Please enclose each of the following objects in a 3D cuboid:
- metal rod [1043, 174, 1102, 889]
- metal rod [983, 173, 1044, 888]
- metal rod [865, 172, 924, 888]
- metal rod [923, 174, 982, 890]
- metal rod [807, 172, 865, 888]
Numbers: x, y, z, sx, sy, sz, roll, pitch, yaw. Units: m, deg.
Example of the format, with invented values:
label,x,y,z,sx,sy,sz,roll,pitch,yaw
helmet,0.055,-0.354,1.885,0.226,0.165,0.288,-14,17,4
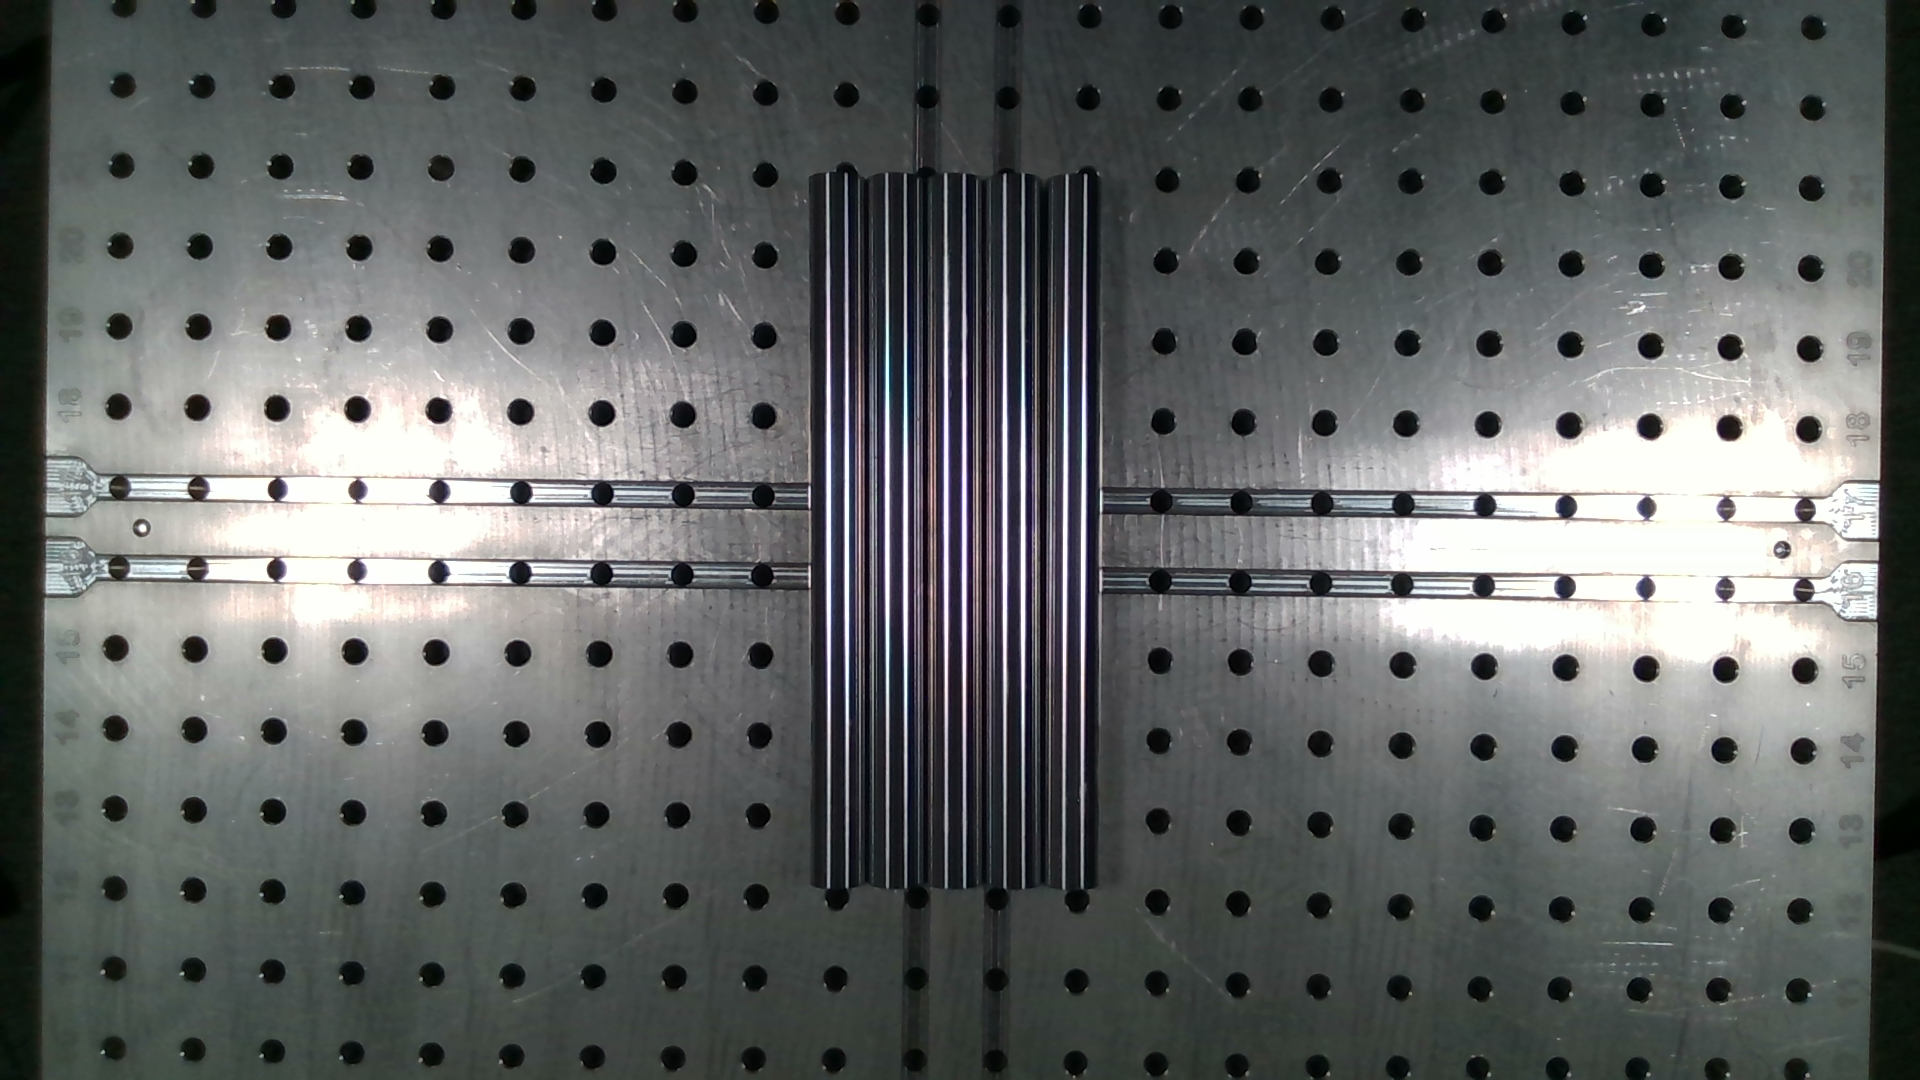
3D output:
label,x,y,z,sx,sy,sz,roll,pitch,yaw
metal rod,0.048,-0.003,0.589,0.025,0.025,0.300,0,91,0
metal rod,0.023,-0.004,0.589,0.025,0.025,0.300,0,91,0
metal rod,-0.028,-0.004,0.589,0.025,0.025,0.300,0,91,0
metal rod,-0.003,-0.003,0.589,0.025,0.025,0.300,0,91,0
metal rod,-0.052,-0.004,0.589,0.025,0.025,0.300,0,91,0
